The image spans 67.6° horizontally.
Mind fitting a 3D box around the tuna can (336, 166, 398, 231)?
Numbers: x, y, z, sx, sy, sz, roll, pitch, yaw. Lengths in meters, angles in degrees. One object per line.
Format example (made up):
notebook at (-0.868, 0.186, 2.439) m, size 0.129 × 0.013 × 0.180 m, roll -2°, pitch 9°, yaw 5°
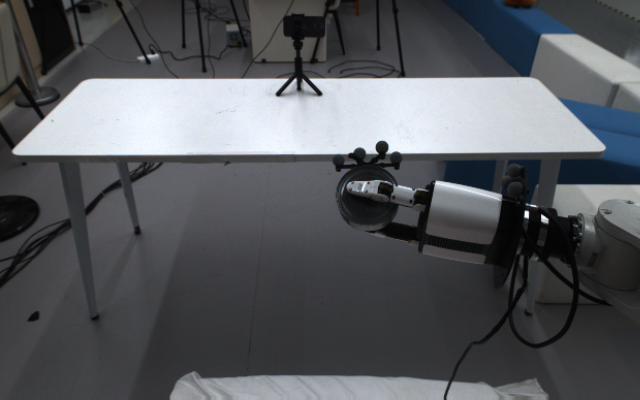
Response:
tuna can at (0.066, -0.003, 0.654) m, size 0.085 × 0.034 × 0.085 m, roll -2°, pitch 69°, yaw 6°
